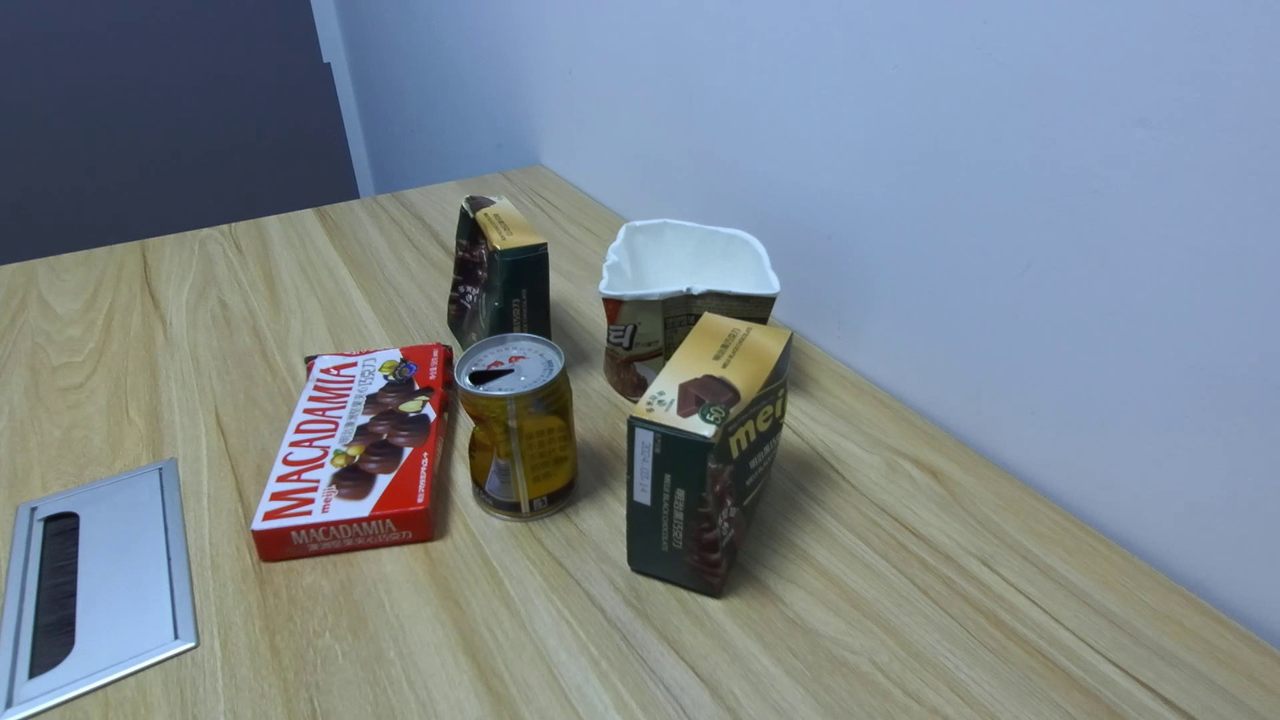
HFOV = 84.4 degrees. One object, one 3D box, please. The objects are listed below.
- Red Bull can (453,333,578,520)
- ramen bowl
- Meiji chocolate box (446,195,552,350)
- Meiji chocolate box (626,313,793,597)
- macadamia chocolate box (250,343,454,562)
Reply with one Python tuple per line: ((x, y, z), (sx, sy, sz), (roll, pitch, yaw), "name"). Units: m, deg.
((-0.071, 0.038, 0.411), (0.072, 0.092, 0.072), (0, 36, 0), "Red Bull can")
((0.027, -0.038, 0.515), (0.114, 0.098, 0.133), (-5, 34, -5), "ramen bowl")
((-0.105, -0.053, 0.530), (0.052, 0.117, 0.117), (-10, 34, -28), "Meiji chocolate box")
((0.040, 0.049, 0.380), (0.058, 0.111, 0.113), (15, 36, 19), "Meiji chocolate box")
((-0.177, 0.047, 0.459), (0.106, 0.028, 0.182), (-5, 34, -10), "macadamia chocolate box")
